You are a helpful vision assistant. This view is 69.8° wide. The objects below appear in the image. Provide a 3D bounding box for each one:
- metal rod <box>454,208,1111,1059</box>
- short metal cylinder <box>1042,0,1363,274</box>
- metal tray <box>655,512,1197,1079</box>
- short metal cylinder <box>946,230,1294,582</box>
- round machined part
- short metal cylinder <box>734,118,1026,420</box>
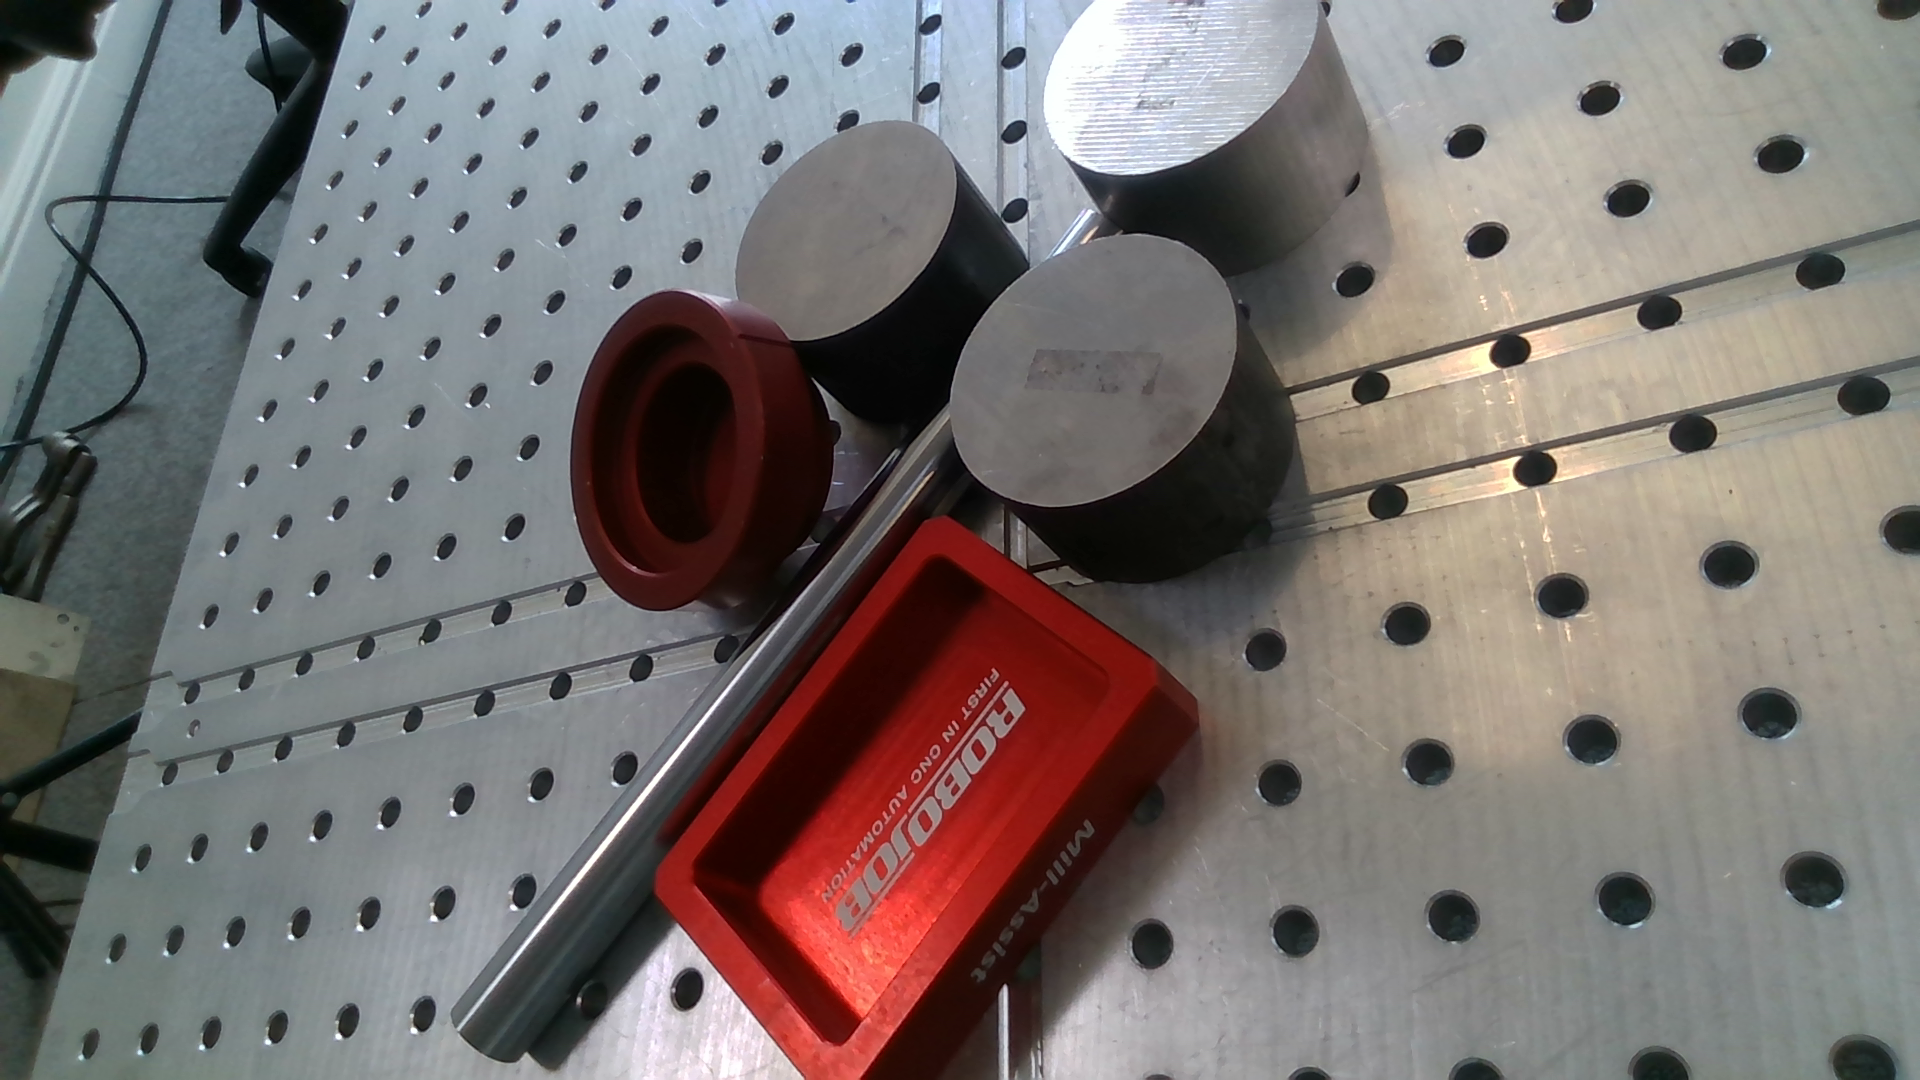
[{"bbox_3d":[-0.046,0.026,0.411,0.025,0.025,0.300,36,87,39],"label":"metal rod"},{"bbox_3d":[0.071,-0.125,0.402,0.080,0.050,0.080,-14,59,25],"label":"short metal cylinder"},{"bbox_3d":[-0.012,0.067,0.363,0.090,0.030,0.130,35,87,40],"label":"metal tray"},{"bbox_3d":[0.043,-0.035,0.371,0.080,0.050,0.080,-14,59,25],"label":"short metal cylinder"},{"bbox_3d":[-0.077,-0.027,0.433,0.098,0.042,0.098,-3,85,41],"label":"round machined part"},{"bbox_3d":[-0.025,-0.086,0.440,0.080,0.050,0.080,-14,59,25],"label":"short metal cylinder"}]
